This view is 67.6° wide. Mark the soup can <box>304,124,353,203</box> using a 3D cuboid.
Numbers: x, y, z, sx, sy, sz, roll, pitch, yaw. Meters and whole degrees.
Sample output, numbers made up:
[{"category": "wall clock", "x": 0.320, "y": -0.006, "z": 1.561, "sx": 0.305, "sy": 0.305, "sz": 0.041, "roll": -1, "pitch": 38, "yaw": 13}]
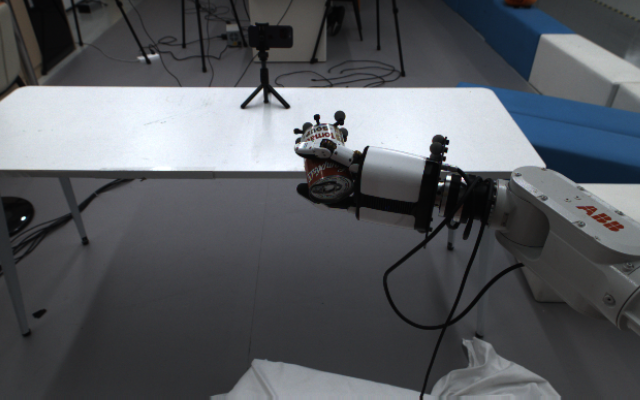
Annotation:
[{"category": "soup can", "x": 0.011, "y": -0.055, "z": 0.722, "sx": 0.067, "sy": 0.067, "sz": 0.101, "roll": -5, "pitch": 57, "yaw": -10}]
